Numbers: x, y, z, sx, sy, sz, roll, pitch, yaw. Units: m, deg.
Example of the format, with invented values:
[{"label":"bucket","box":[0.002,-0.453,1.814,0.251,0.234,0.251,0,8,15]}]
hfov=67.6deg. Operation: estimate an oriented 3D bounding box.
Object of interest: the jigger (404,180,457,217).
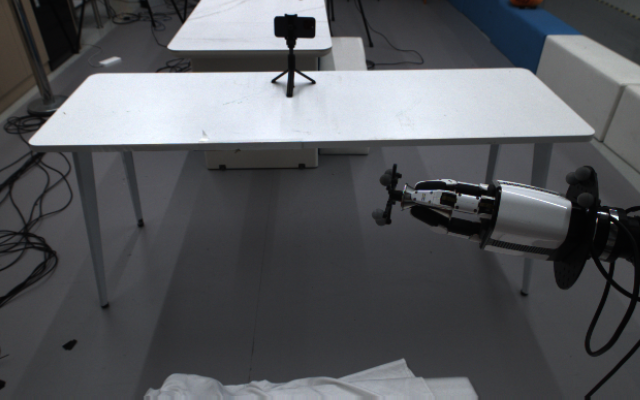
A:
[{"label":"jigger","box":[0.155,-0.002,0.664,0.071,0.043,0.043,10,35,15]}]
